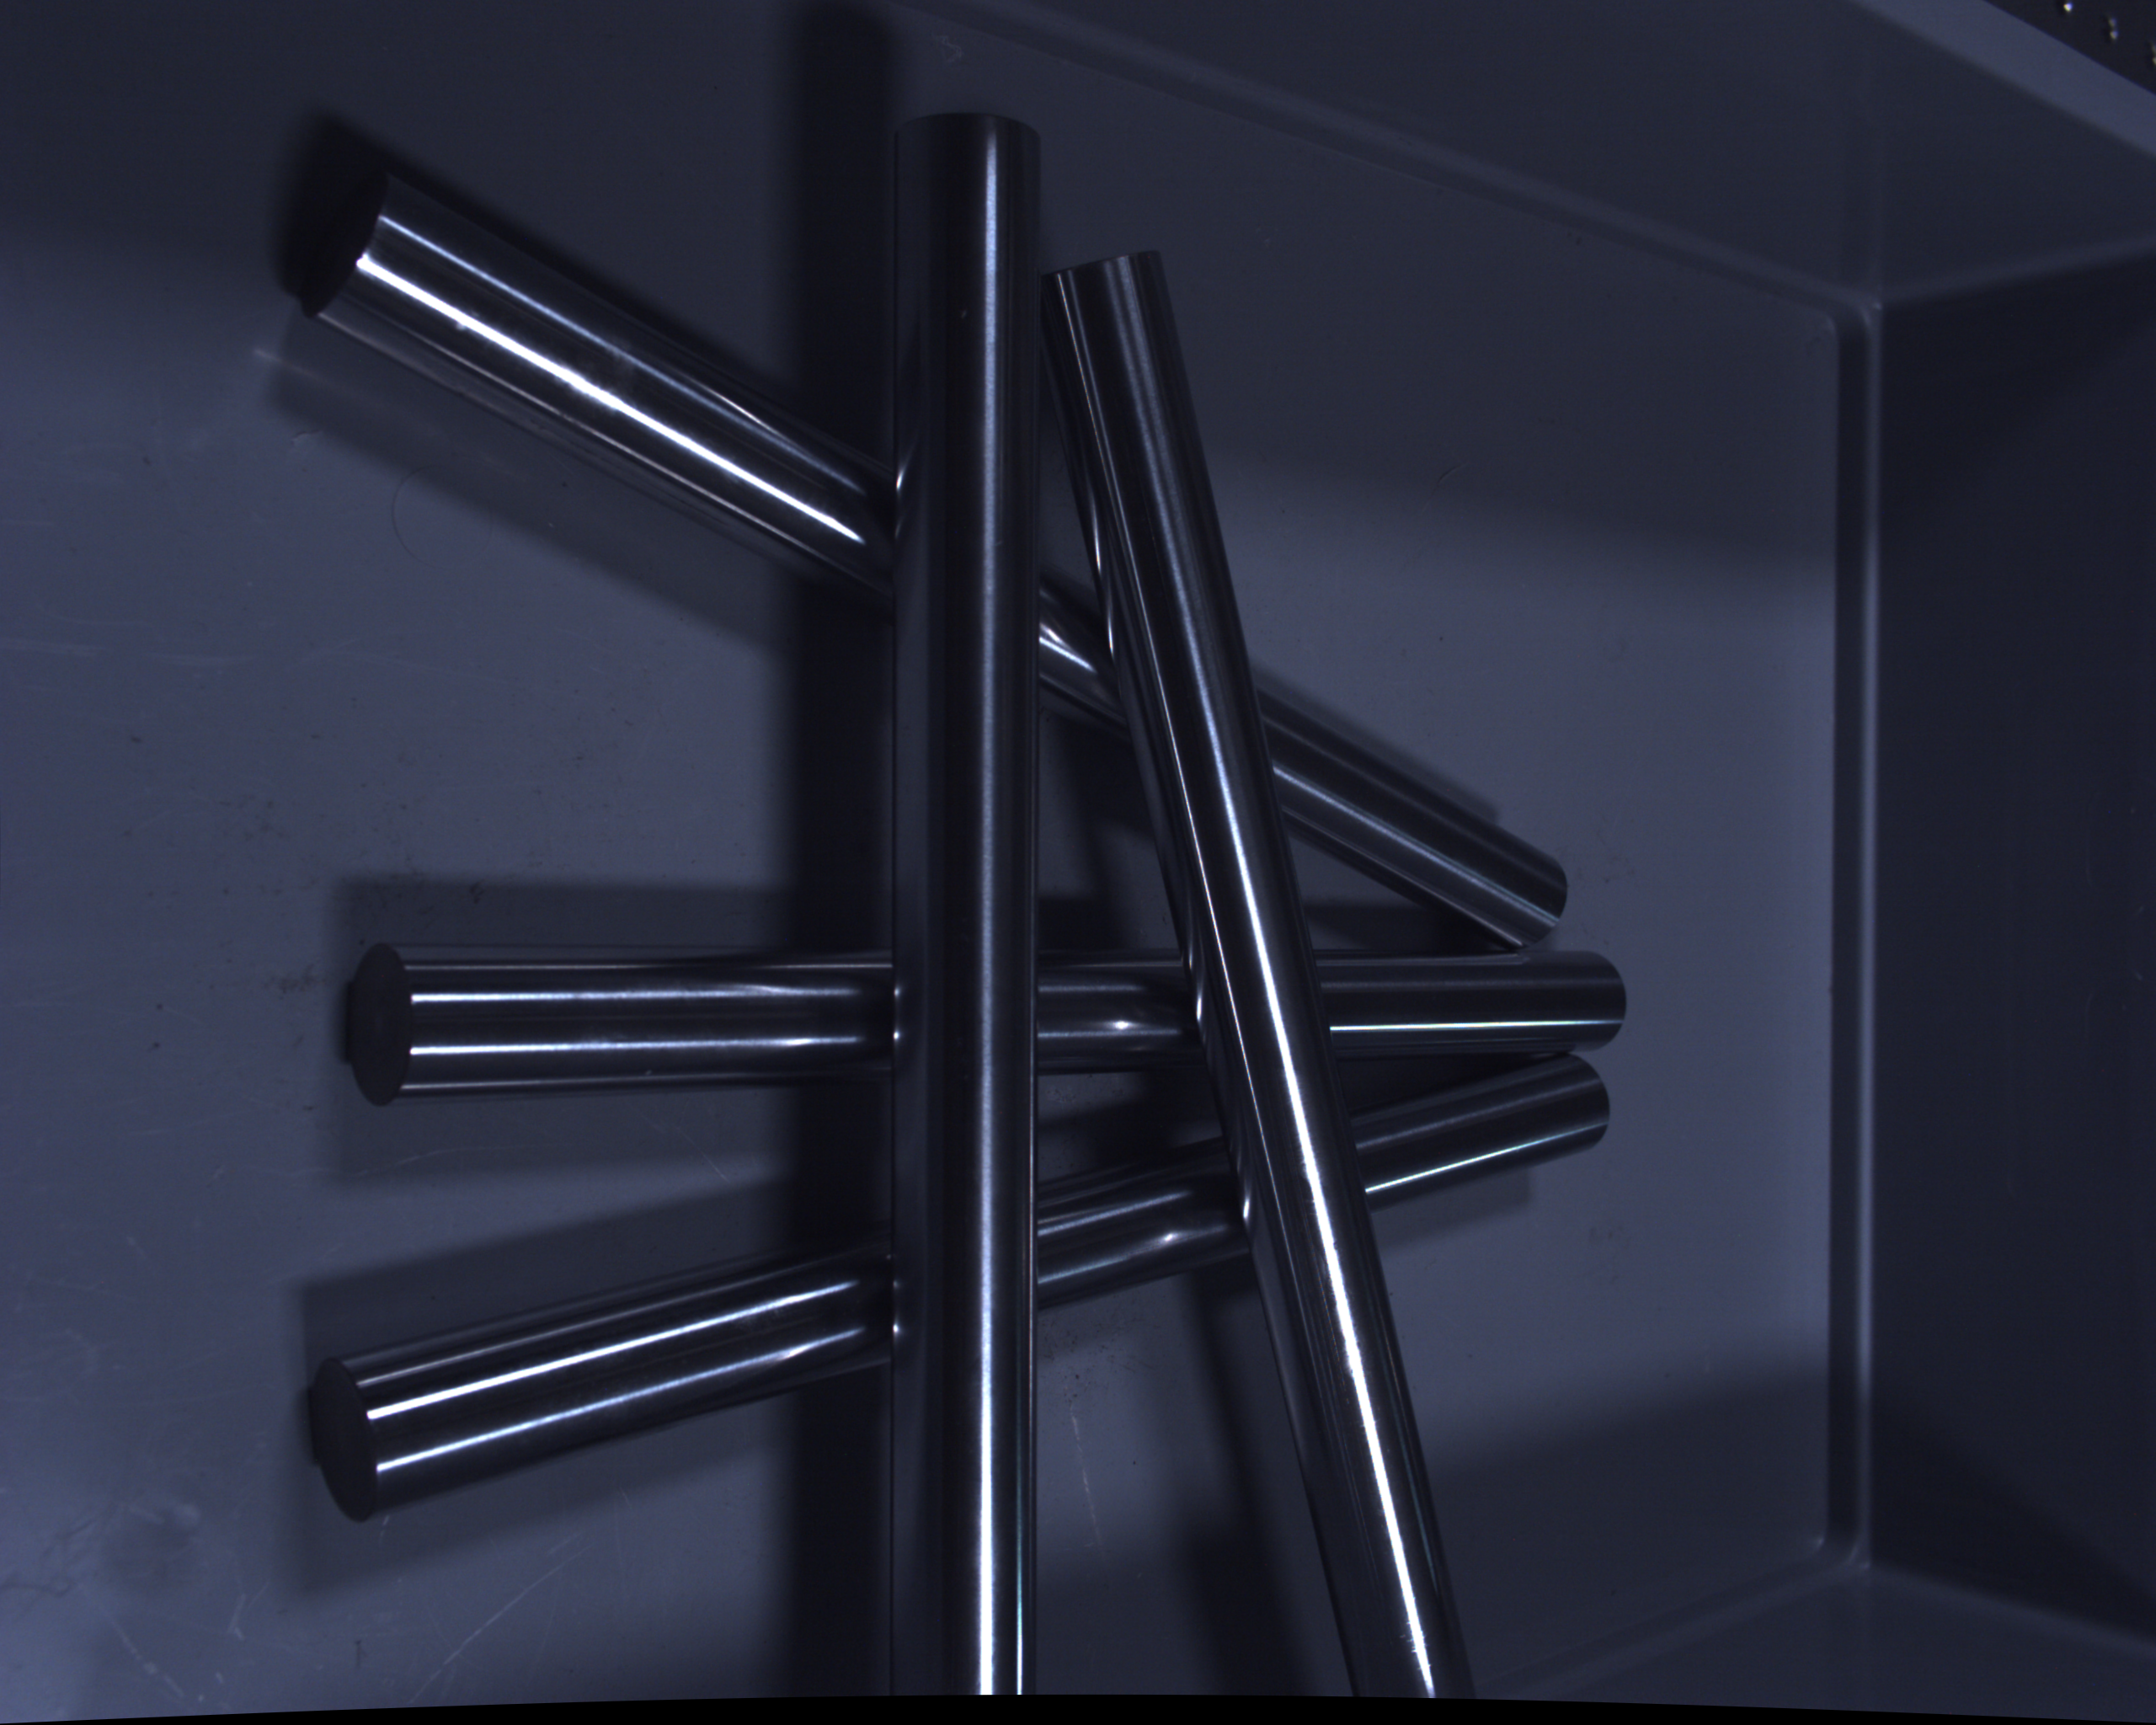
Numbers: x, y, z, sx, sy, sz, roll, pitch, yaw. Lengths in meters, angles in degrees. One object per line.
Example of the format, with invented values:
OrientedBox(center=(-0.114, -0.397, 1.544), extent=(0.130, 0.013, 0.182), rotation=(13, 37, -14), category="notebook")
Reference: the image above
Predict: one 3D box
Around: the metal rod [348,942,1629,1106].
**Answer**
OrientedBox(center=(0.009, 0.029, 0.414), extent=(0.302, 0.025, 0.025), rotation=(2, 89, -40), category="metal rod")

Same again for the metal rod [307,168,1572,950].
OrientedBox(center=(-0.001, -0.042, 0.405), extent=(0.301, 0.025, 0.025), rotation=(25, 74, -37), category="metal rod")

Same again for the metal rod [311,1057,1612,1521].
OrientedBox(center=(0.004, 0.073, 0.411), extent=(0.302, 0.025, 0.025), rotation=(-7, 95, -40), category="metal rod")

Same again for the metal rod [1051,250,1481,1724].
OrientedBox(center=(0.037, 0.035, 0.405), extent=(0.025, 0.025, 0.298), rotation=(-23, 105, -38), category="metal rod")

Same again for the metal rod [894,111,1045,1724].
OrientedBox(center=(-0.019, 0.025, 0.357), extent=(0.025, 0.025, 0.298), rotation=(0, 90, -40), category="metal rod")
